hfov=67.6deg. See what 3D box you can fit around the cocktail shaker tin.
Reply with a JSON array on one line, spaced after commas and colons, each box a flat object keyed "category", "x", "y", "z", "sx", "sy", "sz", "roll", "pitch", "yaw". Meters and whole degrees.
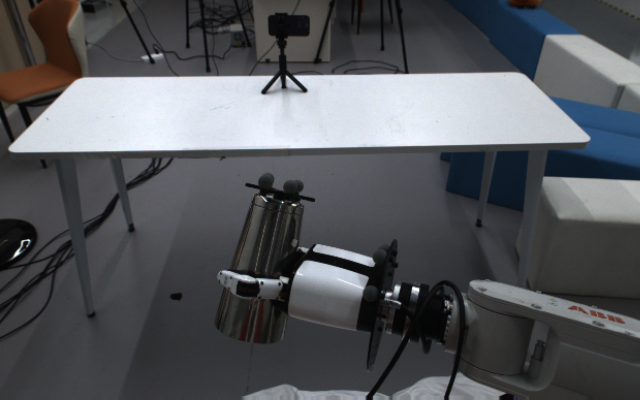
[{"category": "cocktail shaker tin", "x": -0.069, "y": 0.081, "z": 0.611, "sx": 0.093, "sy": 0.170, "sz": 0.093, "roll": 13, "pitch": 4, "yaw": -1}]
